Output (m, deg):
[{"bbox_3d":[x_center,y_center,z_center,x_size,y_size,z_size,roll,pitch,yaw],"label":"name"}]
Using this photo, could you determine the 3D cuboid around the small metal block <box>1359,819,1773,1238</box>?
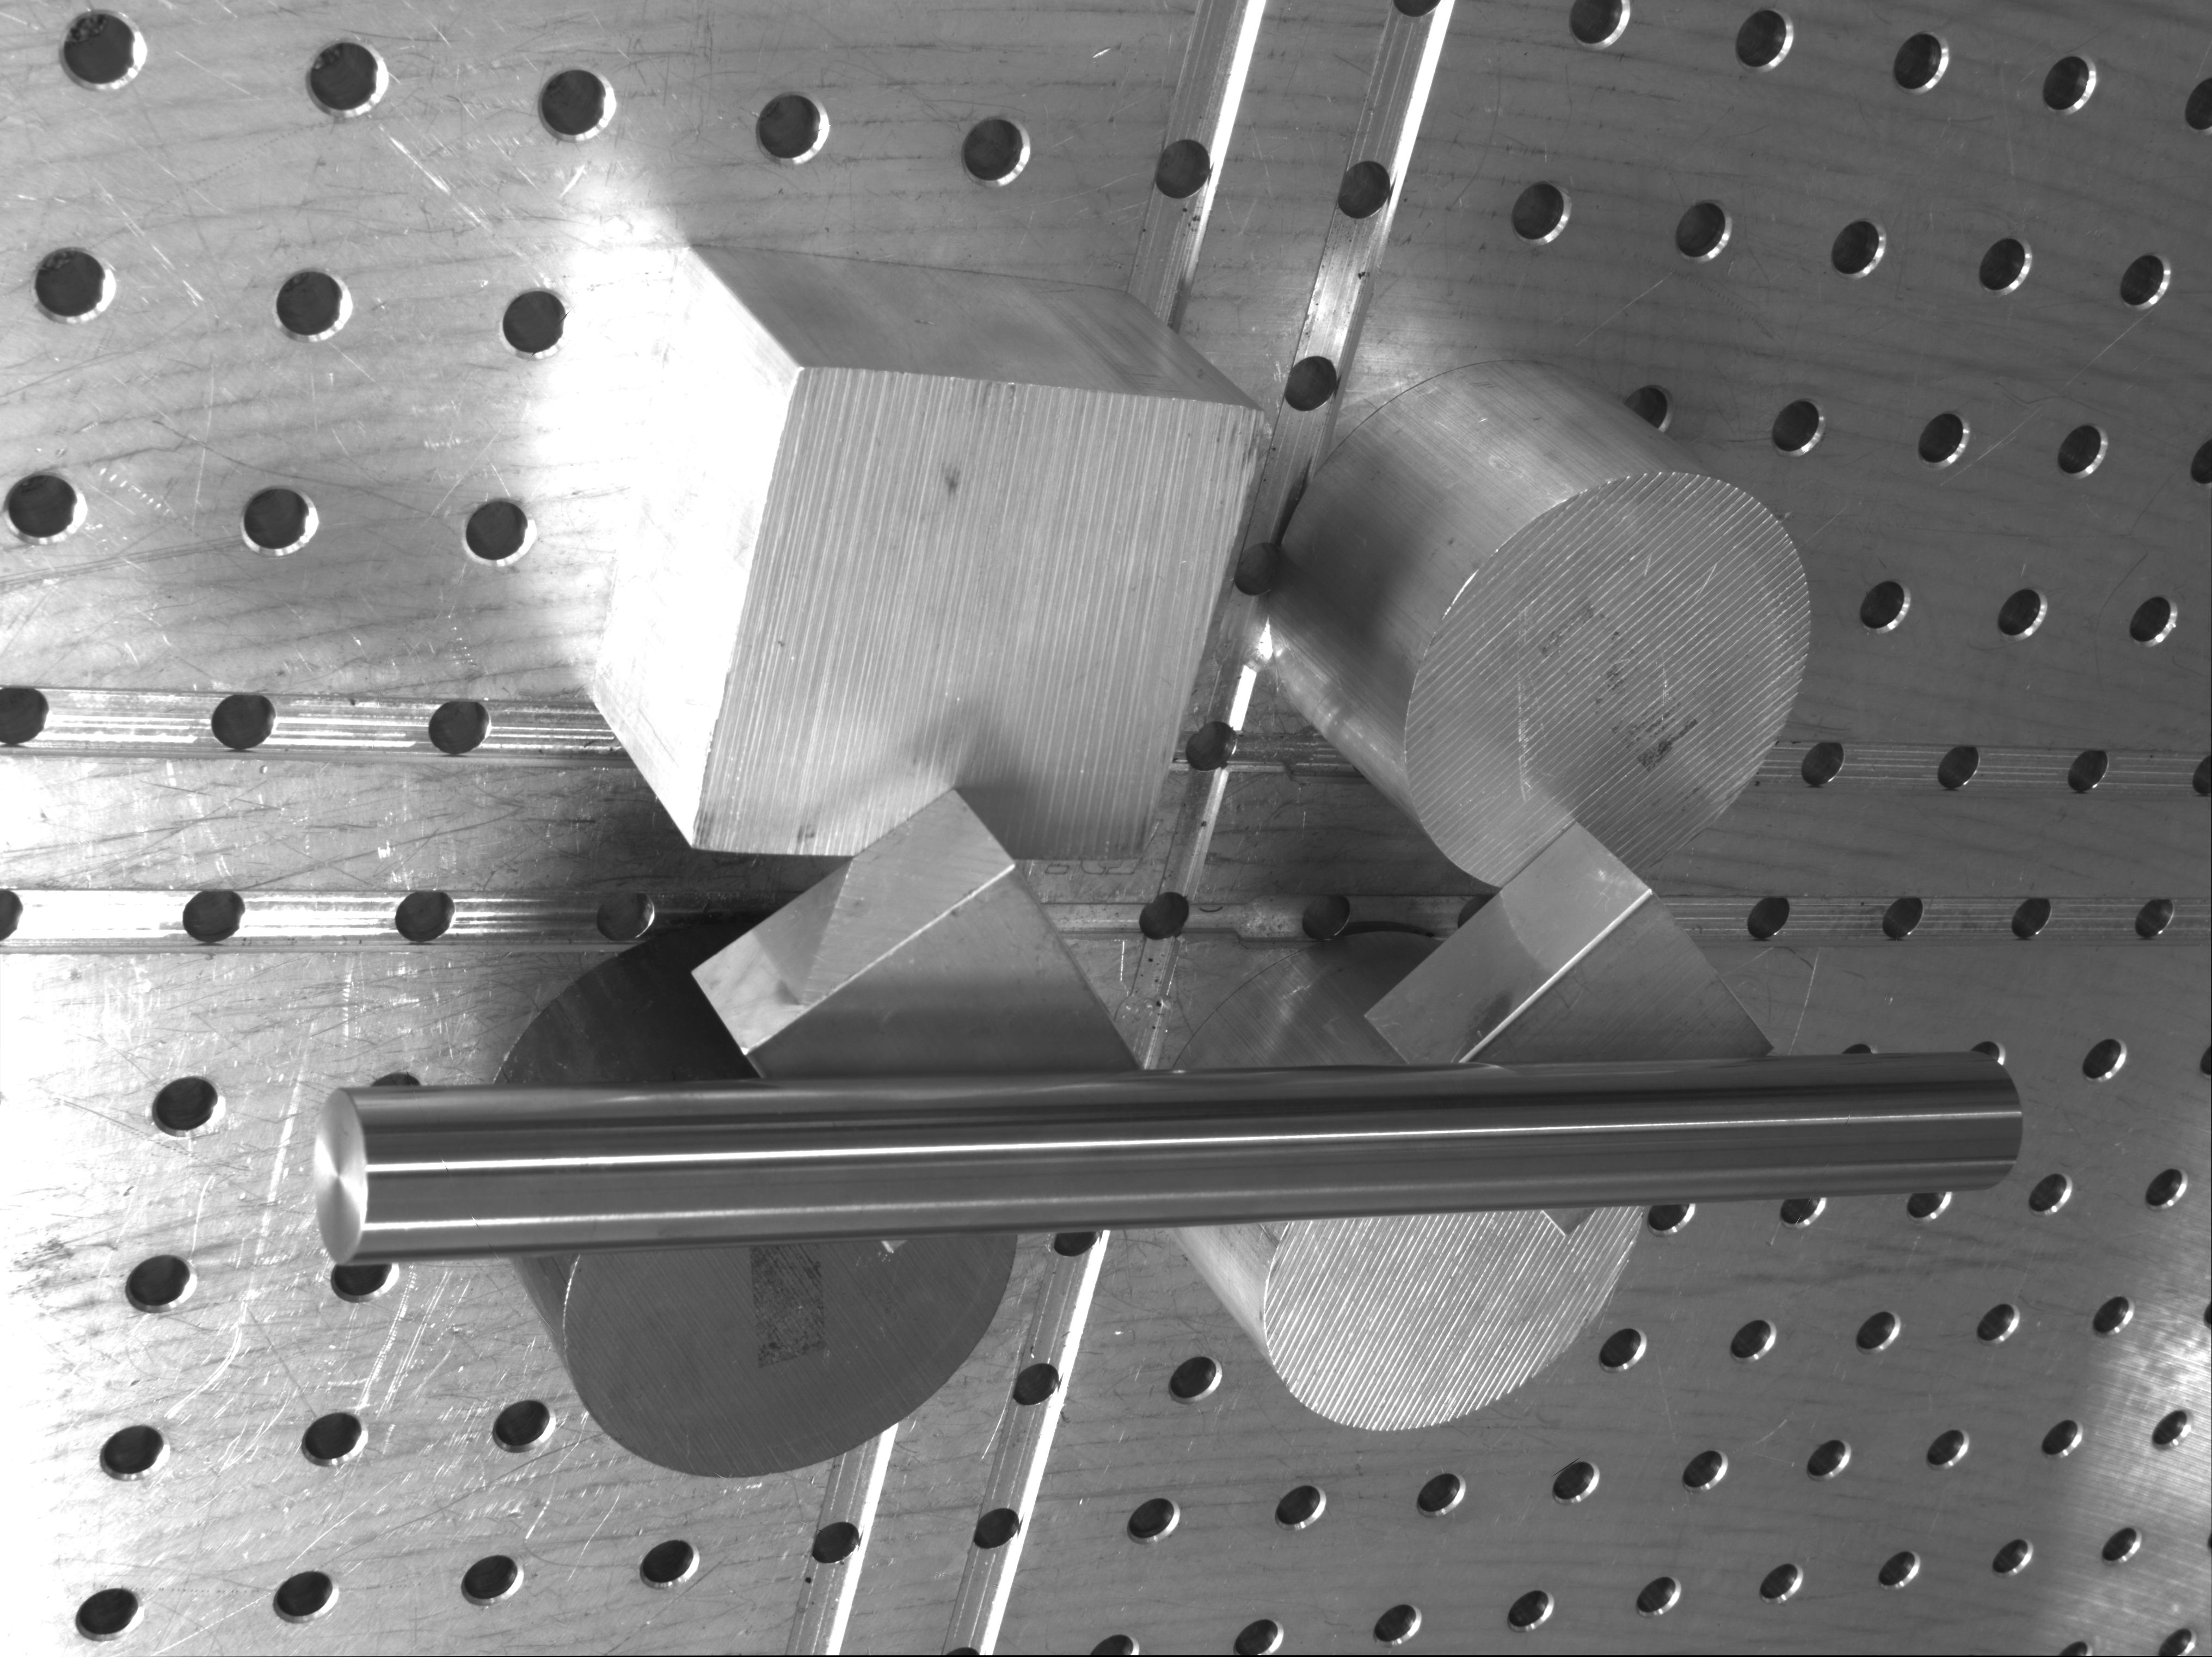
[{"bbox_3d":[0.081,0.035,0.641,0.050,0.025,0.050,-42,129,1],"label":"small metal block"}]

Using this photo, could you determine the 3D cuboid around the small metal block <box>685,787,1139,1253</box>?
[{"bbox_3d":[-0.030,0.030,0.579,0.050,0.025,0.050,-35,129,-5],"label":"small metal block"}]

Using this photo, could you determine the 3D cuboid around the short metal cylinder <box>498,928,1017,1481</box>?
[{"bbox_3d":[-0.062,0.064,0.629,0.080,0.050,0.080,-14,124,-21],"label":"short metal cylinder"}]

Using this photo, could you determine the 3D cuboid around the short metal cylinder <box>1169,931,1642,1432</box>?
[{"bbox_3d":[0.054,0.067,0.694,0.080,0.050,0.080,-14,124,-21],"label":"short metal cylinder"}]

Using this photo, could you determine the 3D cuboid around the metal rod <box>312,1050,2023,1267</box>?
[{"bbox_3d":[0.024,0.051,0.587,0.301,0.025,0.025,1,118,-29],"label":"metal rod"}]

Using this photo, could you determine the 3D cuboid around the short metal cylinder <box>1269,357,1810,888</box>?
[{"bbox_3d":[0.076,-0.036,0.643,0.080,0.050,0.080,-14,124,-21],"label":"short metal cylinder"}]

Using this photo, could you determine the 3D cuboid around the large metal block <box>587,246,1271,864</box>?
[{"bbox_3d":[-0.030,-0.042,0.582,0.080,0.050,0.080,1,118,-29],"label":"large metal block"}]
